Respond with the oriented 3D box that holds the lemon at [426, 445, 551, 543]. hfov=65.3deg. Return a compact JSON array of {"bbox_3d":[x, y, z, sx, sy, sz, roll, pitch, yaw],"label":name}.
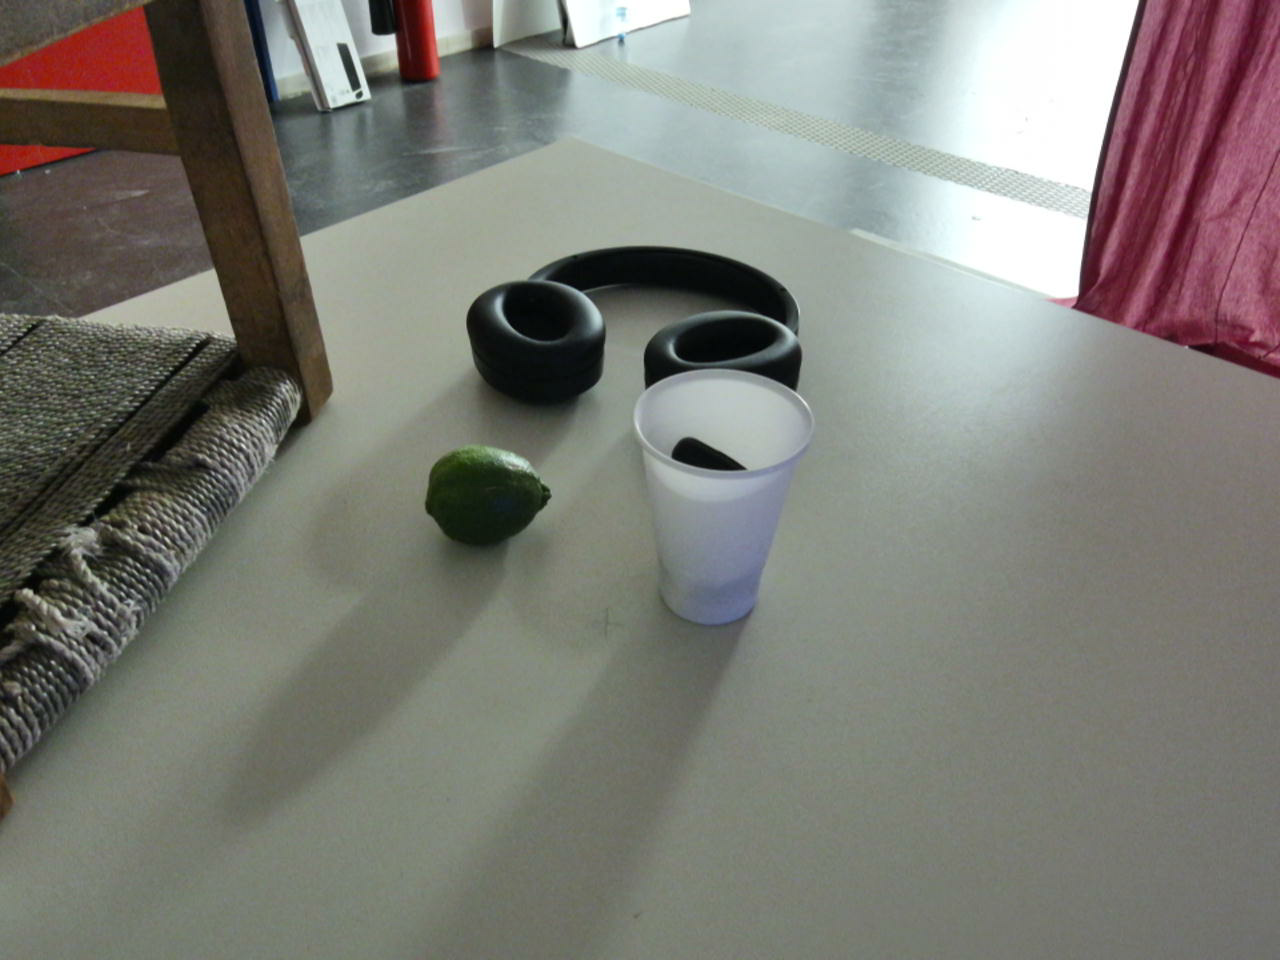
[{"bbox_3d":[-0.080,0.006,0.509,0.054,0.051,0.057,25,43,28],"label":"lemon"}]
